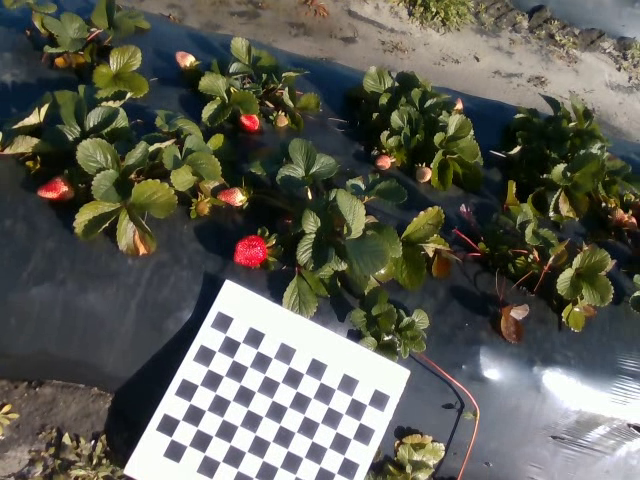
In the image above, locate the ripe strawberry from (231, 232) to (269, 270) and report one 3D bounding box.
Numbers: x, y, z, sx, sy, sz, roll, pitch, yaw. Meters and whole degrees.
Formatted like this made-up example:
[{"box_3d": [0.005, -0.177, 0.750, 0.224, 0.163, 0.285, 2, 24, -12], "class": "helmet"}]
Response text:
[{"box_3d": [-0.101, 0.016, 0.810, 0.058, 0.066, 0.061, -21, -3, 19], "class": "ripe strawberry"}]
